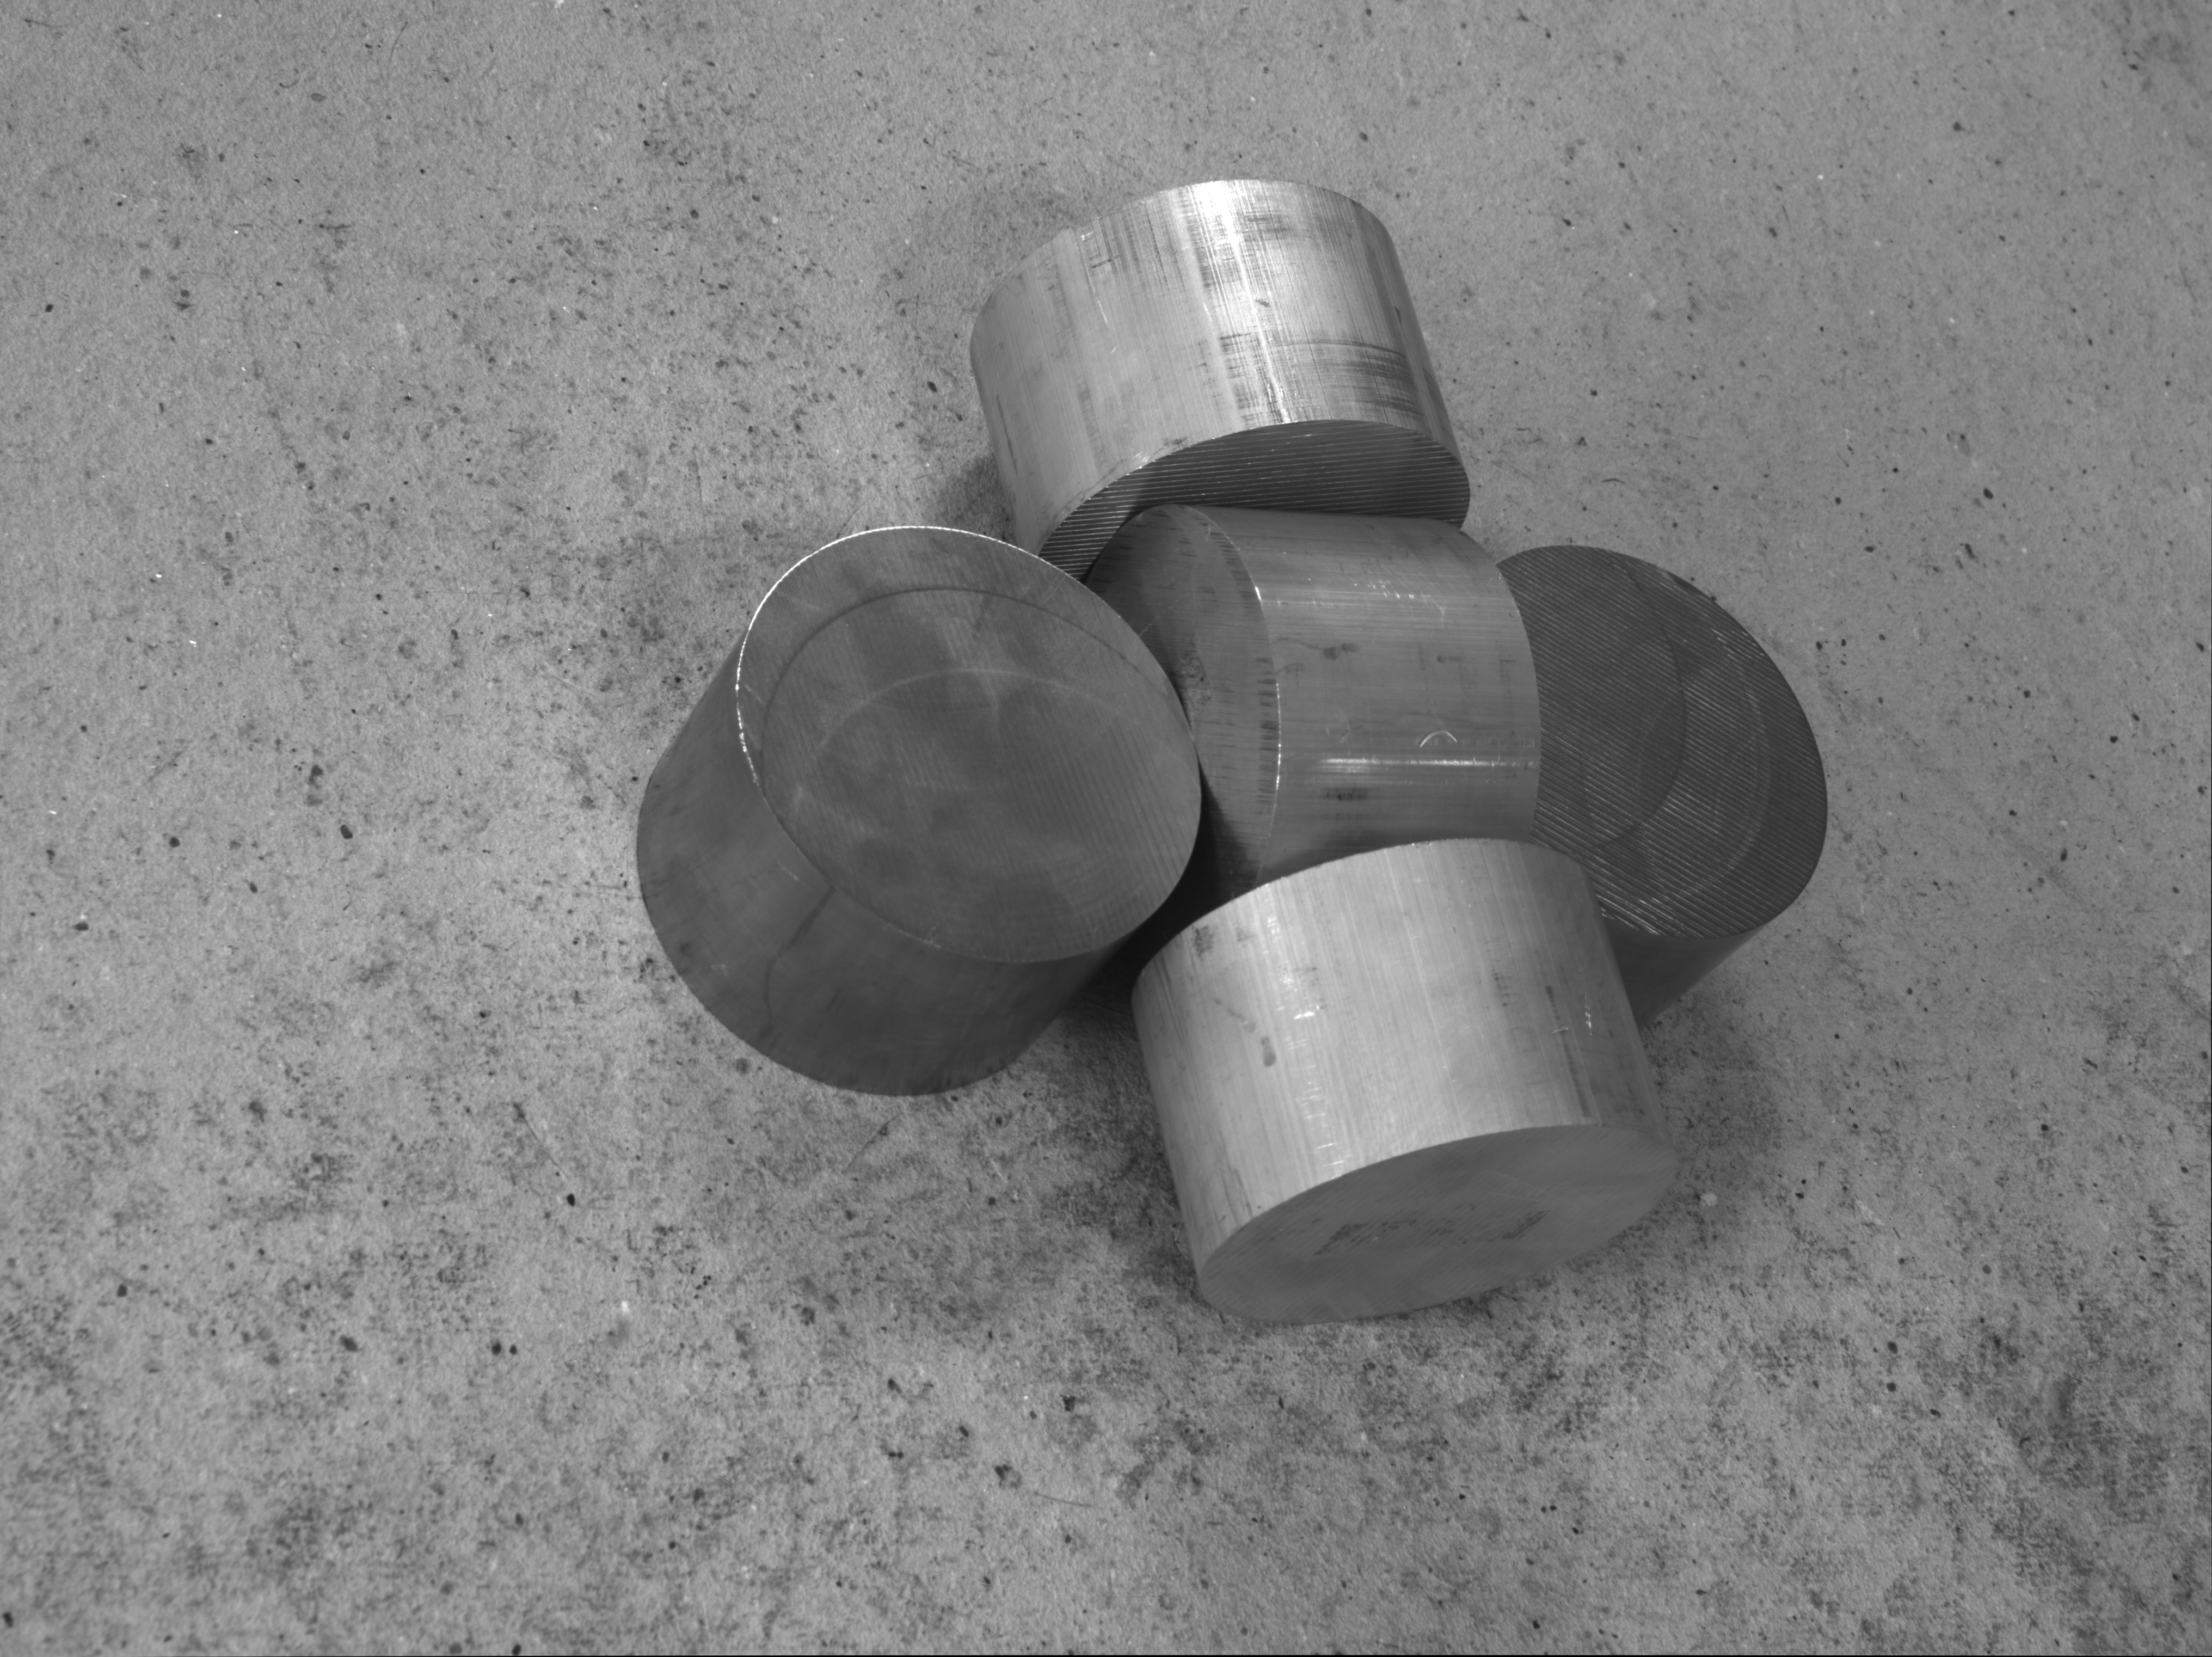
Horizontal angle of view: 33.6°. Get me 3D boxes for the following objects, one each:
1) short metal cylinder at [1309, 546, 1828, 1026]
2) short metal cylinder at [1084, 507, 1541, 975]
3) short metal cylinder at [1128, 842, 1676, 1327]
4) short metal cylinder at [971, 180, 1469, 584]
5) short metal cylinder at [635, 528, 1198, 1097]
[{"bbox_3d":[0.084,-0.004,0.670,0.080,0.050,0.080,13,56,-21],"label":"short metal cylinder"},{"bbox_3d":[0.031,-0.014,0.629,0.050,0.080,0.080,0,61,-28],"label":"short metal cylinder"},{"bbox_3d":[0.048,0.043,0.604,0.080,0.080,0.050,0,61,-28],"label":"short metal cylinder"},{"bbox_3d":[0.020,-0.071,0.658,0.080,0.080,0.050,0,61,-28],"label":"short metal cylinder"},{"bbox_3d":[-0.032,-0.003,0.607,0.080,0.050,0.080,14,55,-21],"label":"short metal cylinder"}]
